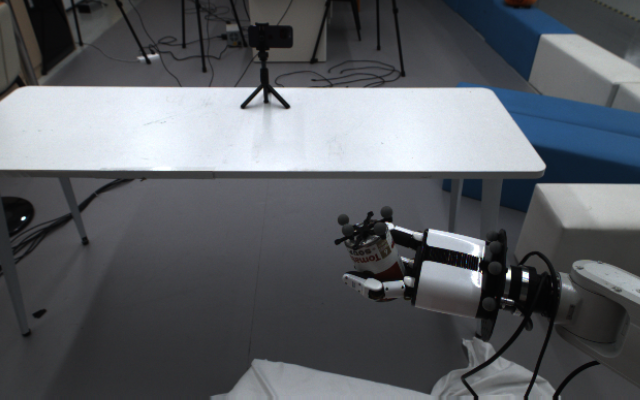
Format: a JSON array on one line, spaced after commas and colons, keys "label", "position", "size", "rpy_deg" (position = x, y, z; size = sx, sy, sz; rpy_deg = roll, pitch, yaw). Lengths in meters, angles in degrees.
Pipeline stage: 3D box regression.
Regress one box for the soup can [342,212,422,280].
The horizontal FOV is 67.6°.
[{"label": "soup can", "position": [0.085, 0.087, 0.704], "size": [0.067, 0.101, 0.067], "rpy_deg": [-21, 24, 10]}]
